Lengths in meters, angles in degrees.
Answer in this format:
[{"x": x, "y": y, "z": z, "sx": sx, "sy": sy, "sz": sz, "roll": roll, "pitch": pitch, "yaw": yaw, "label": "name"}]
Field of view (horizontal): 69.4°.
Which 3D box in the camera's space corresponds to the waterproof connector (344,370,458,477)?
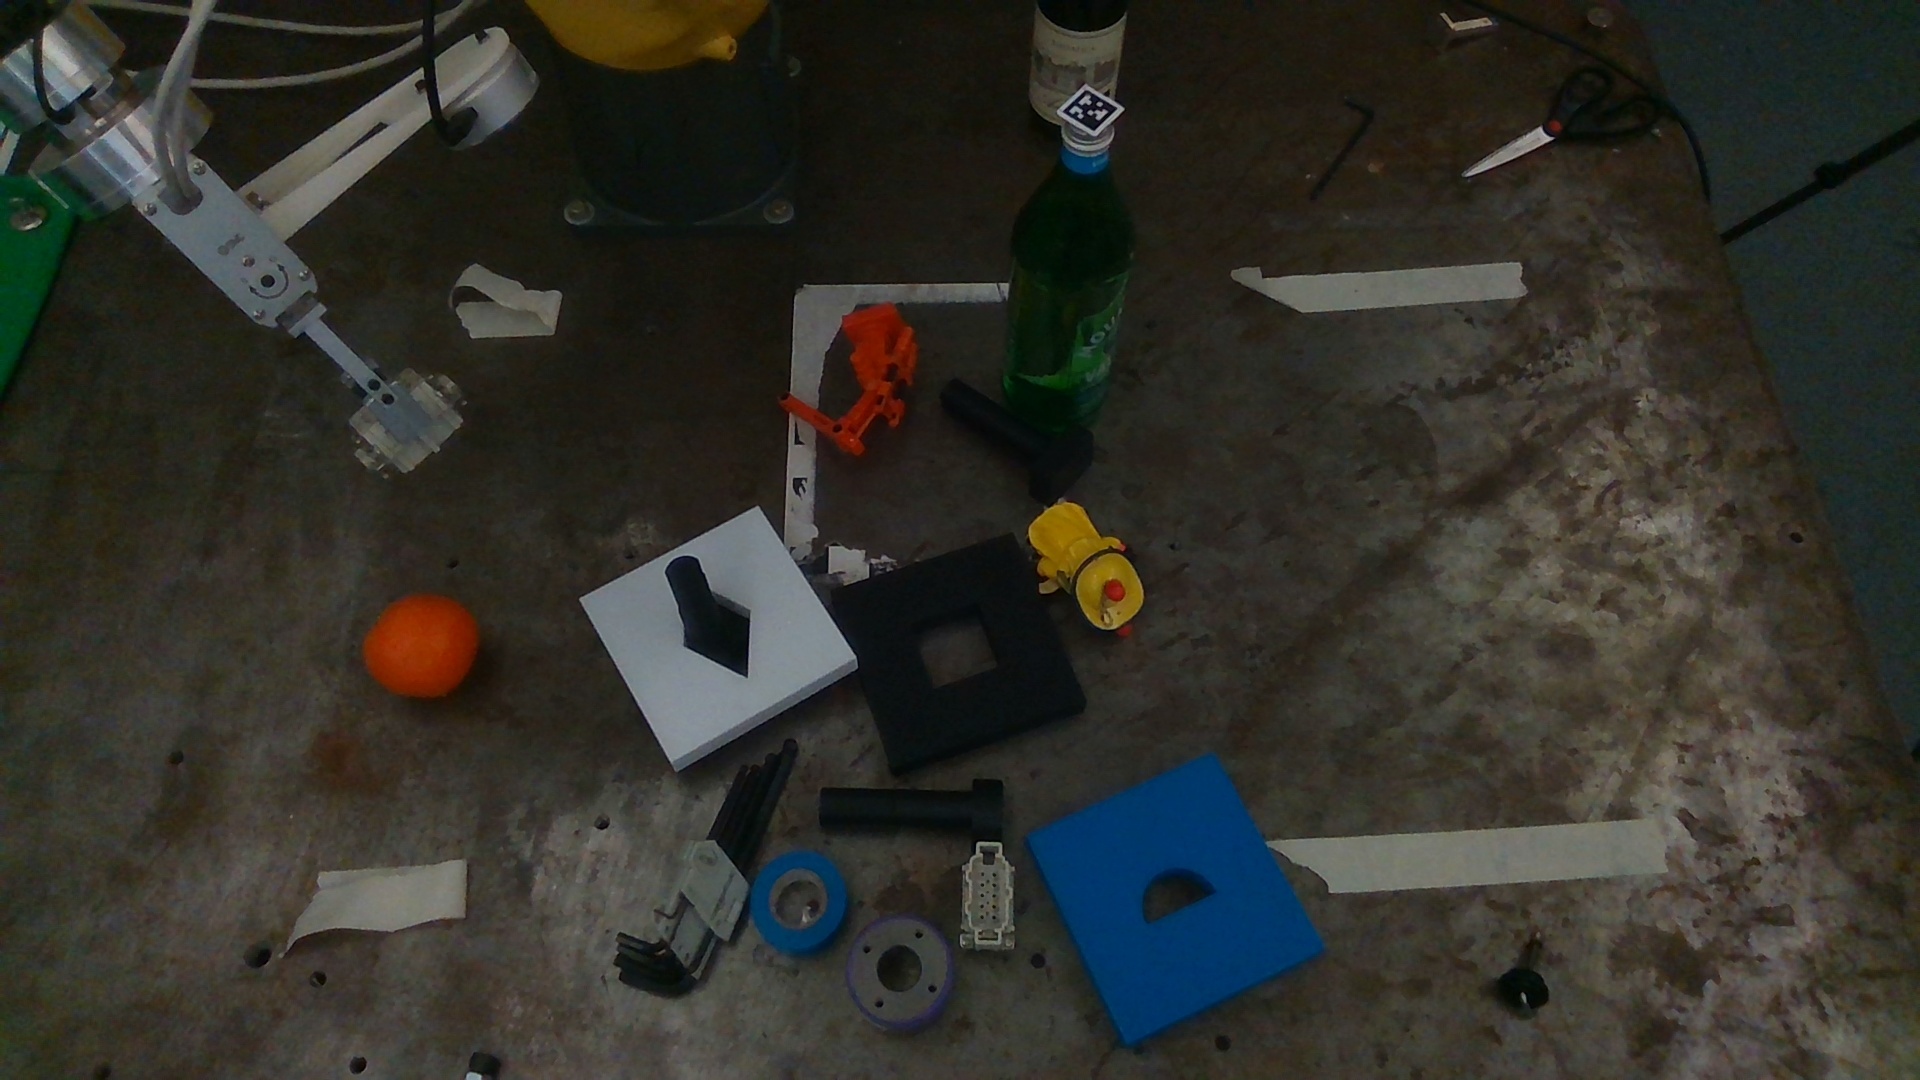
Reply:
[{"x": -0.322, "y": -0.066, "z": 0.801, "sx": 0.069, "sy": 0.038, "sz": 0.037, "roll": -44, "pitch": 37, "yaw": -10, "label": "waterproof connector"}]
